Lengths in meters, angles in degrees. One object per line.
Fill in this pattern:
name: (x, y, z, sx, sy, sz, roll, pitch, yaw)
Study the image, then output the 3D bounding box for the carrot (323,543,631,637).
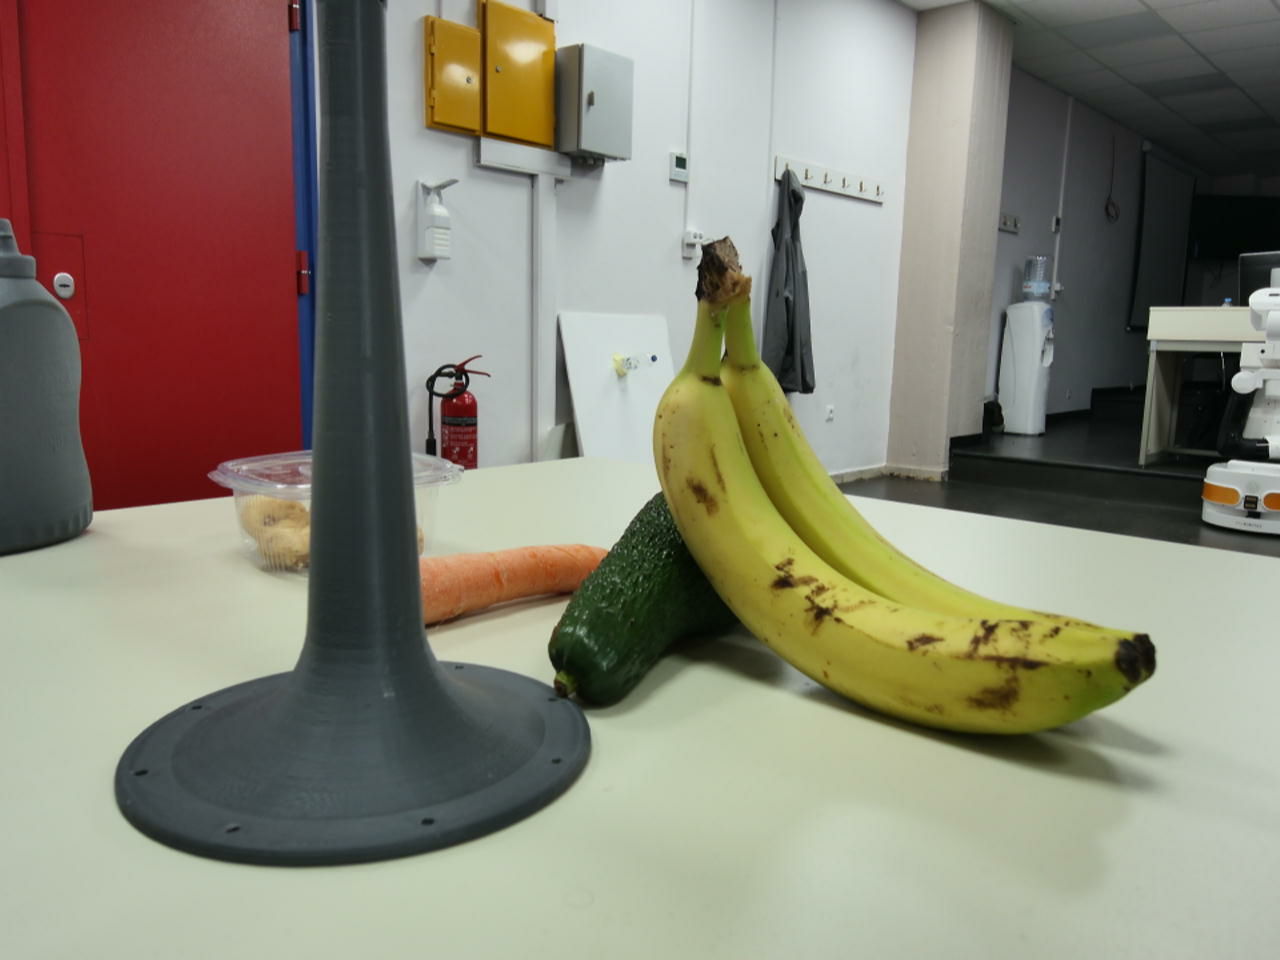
carrot: (-0.076, 0.049, 0.530, 0.039, 0.041, 0.196, 6, 10, 42)
